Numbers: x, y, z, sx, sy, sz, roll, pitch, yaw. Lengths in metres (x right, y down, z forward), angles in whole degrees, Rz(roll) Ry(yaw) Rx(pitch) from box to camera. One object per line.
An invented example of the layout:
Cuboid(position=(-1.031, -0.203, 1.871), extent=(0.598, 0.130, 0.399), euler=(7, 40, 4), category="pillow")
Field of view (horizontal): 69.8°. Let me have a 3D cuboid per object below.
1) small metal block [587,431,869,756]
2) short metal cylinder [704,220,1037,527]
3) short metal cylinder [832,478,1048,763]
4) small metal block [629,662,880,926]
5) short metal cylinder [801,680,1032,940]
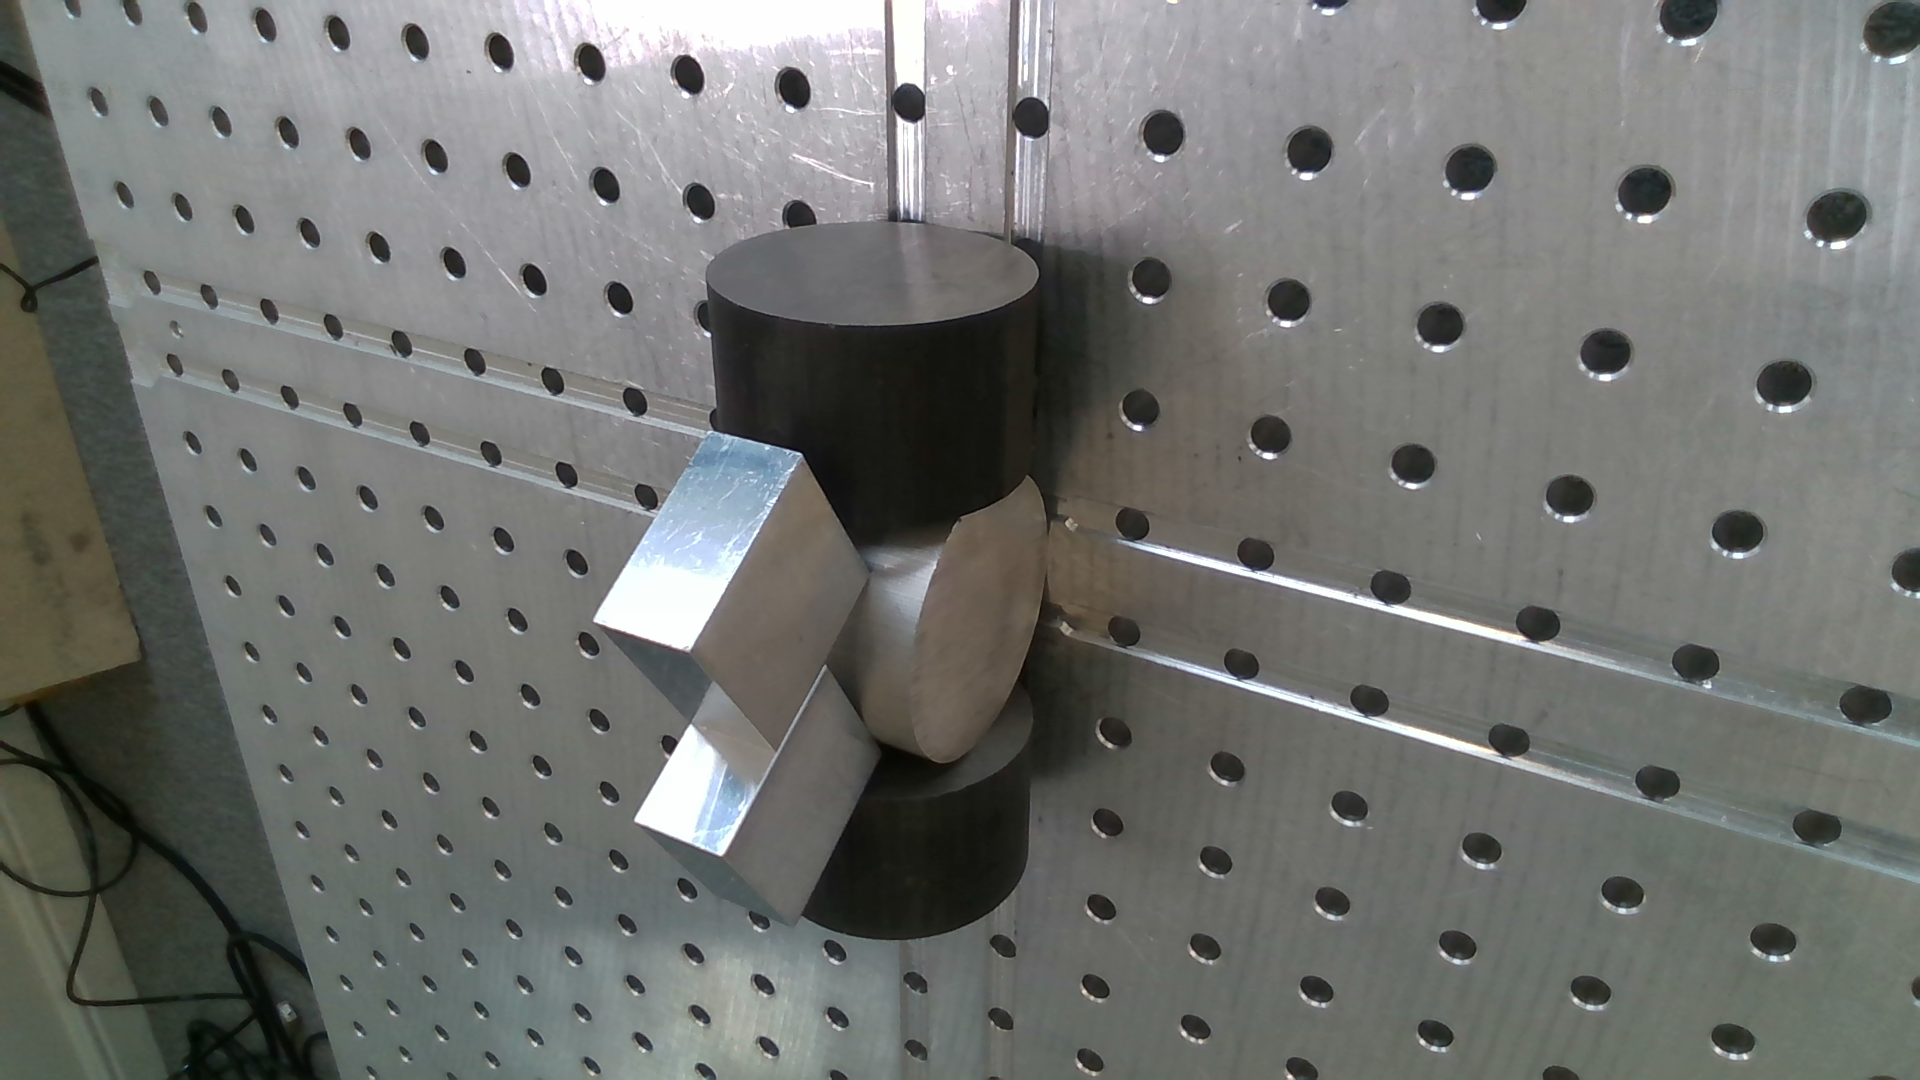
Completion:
Cuboid(position=(-0.049, 0.013, 0.308), extent=(0.025, 0.050, 0.050), euler=(15, 153, 24), category="small metal block")
Cuboid(position=(-0.022, -0.044, 0.345), extent=(0.080, 0.080, 0.050), euler=(15, 122, 24), category="short metal cylinder")
Cuboid(position=(-0.016, 0.014, 0.374), extent=(0.050, 0.080, 0.080), euler=(15, 122, 24), category="short metal cylinder")
Cuboid(position=(-0.048, 0.060, 0.339), extent=(0.025, 0.050, 0.050), euler=(15, 153, 24), category="small metal block")
Cuboid(position=(-0.020, 0.071, 0.406), extent=(0.080, 0.080, 0.050), euler=(15, 121, 24), category="short metal cylinder")
